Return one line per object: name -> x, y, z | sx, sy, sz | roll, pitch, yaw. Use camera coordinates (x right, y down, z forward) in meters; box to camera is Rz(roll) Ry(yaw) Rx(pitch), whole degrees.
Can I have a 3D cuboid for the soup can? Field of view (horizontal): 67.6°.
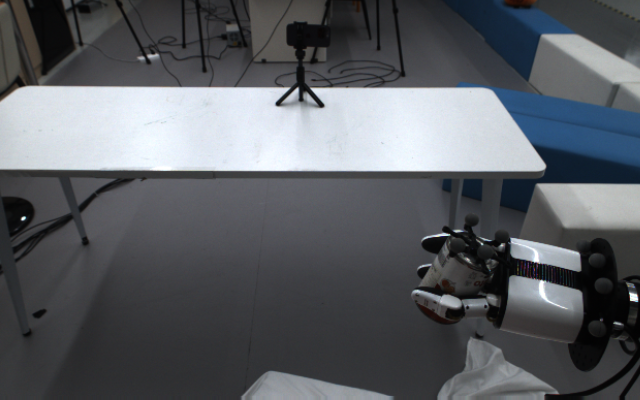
soup can -> 0.171, 0.097, 0.609 | 0.067, 0.101, 0.067 | 14, 35, -10
